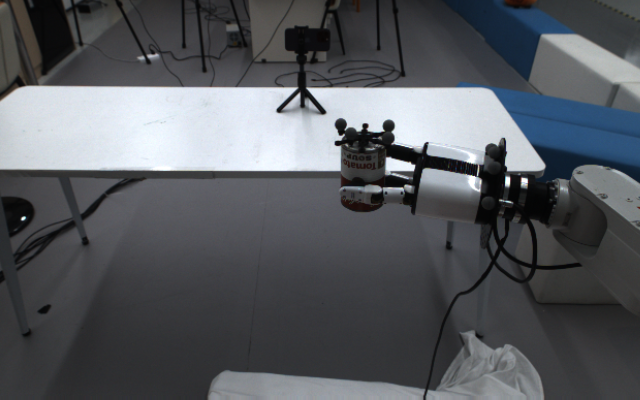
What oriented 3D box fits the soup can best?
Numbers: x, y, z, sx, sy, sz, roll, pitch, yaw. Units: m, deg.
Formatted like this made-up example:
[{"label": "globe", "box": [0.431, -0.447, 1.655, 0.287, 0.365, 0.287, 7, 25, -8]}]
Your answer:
[{"label": "soup can", "box": [0.065, -0.043, 0.718, 0.067, 0.101, 0.067, -2, 34, 1]}]
